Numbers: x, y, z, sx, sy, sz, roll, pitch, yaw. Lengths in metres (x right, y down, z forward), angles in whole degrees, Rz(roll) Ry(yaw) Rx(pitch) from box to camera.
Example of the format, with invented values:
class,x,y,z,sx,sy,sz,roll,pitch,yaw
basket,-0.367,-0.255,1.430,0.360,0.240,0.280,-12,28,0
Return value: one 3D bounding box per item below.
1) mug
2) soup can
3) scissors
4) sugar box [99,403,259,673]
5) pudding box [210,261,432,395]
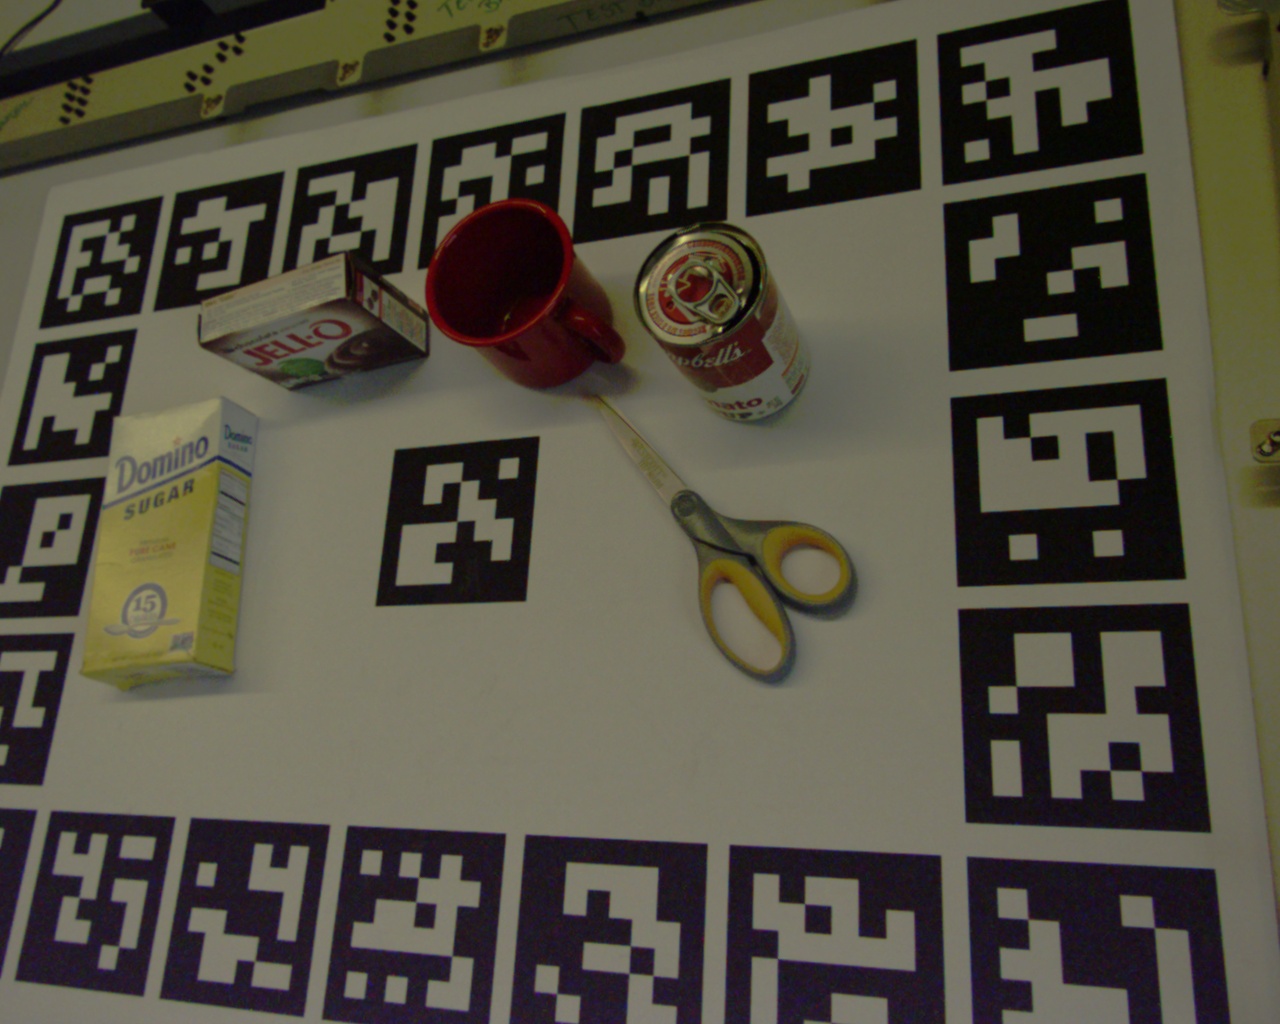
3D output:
class,x,y,z,sx,sy,sz,roll,pitch,yaw
mug,-0.066,-0.126,0.700,0.093,0.080,0.118,-40,63,10
soup can,0.040,-0.095,0.645,0.068,0.101,0.068,-7,71,20
scissors,0.027,0.007,0.657,0.088,0.015,0.205,-48,64,14
sugar box,-0.316,0.019,0.784,0.094,0.045,0.177,-7,74,22
pudding box,-0.208,-0.118,0.748,0.115,0.089,0.039,-13,77,18
